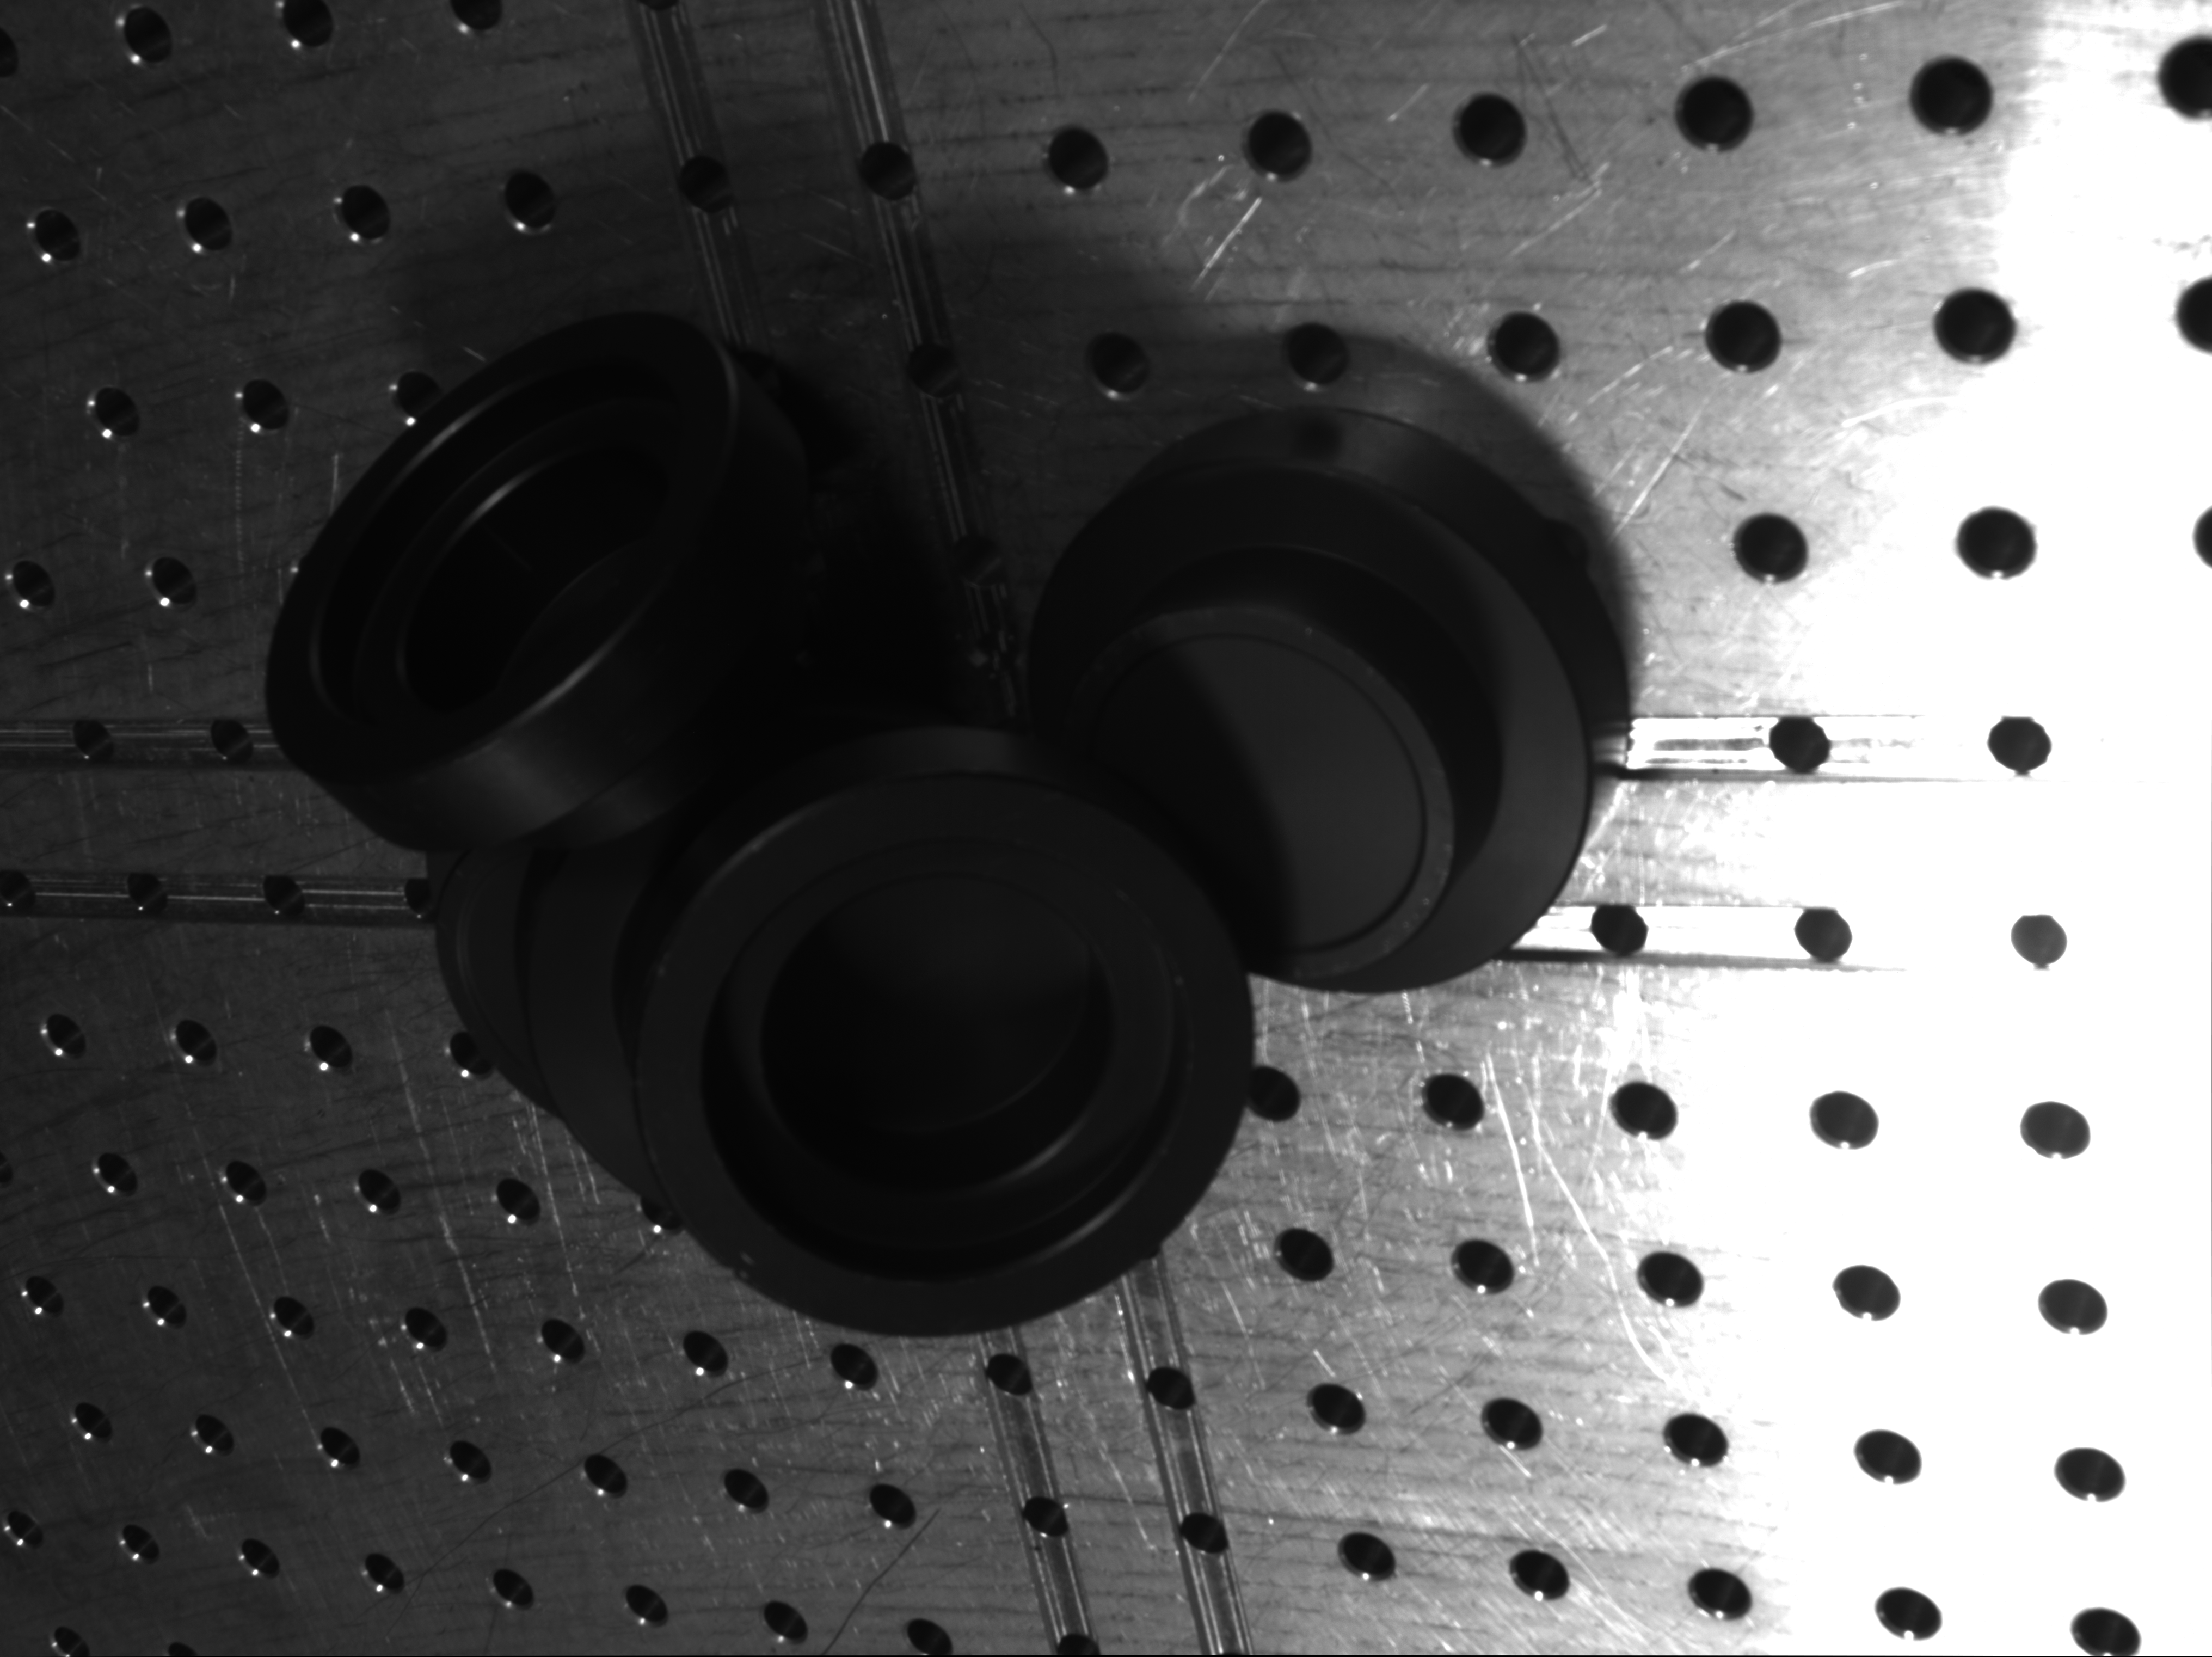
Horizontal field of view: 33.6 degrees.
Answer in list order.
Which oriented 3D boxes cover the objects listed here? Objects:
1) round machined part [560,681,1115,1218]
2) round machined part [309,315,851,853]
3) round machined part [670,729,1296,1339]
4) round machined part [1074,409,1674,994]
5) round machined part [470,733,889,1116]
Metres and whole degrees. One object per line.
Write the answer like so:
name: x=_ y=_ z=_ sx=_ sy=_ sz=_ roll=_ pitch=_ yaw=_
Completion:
round machined part: x=-0.043 y=0.027 z=0.631 sx=0.098 sy=0.042 sz=0.098 roll=-4 pitch=110 yaw=-11
round machined part: x=-0.082 y=-0.036 z=0.614 sx=0.098 sy=0.098 sz=0.042 roll=-13 pitch=137 yaw=32
round machined part: x=-0.021 y=0.029 z=0.591 sx=0.098 sy=0.042 sz=0.098 roll=-3 pitch=113 yaw=-8
round machined part: x=0.039 y=-0.015 z=0.595 sx=0.098 sy=0.042 sz=0.098 roll=12 pitch=123 yaw=20
round machined part: x=-0.075 y=0.019 z=0.672 sx=0.098 sy=0.042 sz=0.098 roll=12 pitch=123 yaw=20
